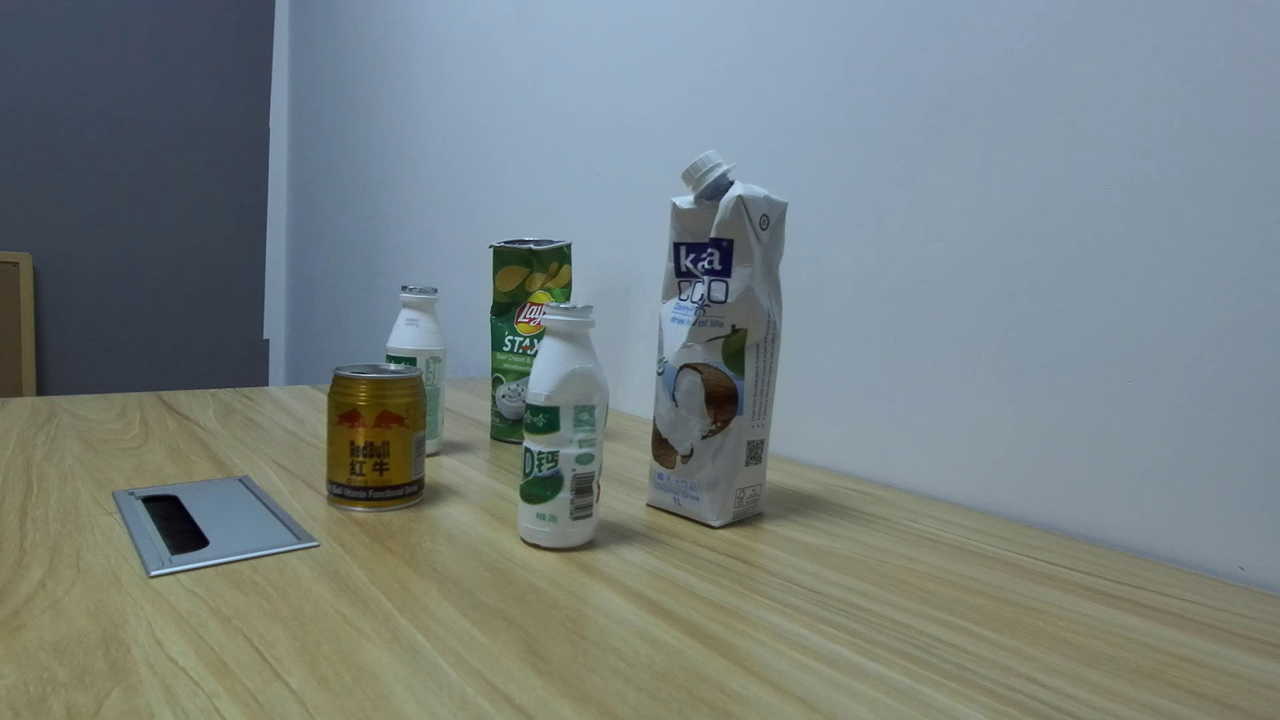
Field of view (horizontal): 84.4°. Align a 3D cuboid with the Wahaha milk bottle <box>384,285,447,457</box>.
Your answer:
[{"bbox_3d":[-0.200,0.009,0.628,0.053,0.147,0.053,2,3,0],"label":"Wahaha milk bottle"}]

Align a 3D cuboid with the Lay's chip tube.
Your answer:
[{"bbox_3d":[-0.112,-0.020,0.708,0.077,0.201,0.069,0,8,-13],"label":"Lay's chip tube"}]

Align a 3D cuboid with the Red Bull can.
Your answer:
[{"bbox_3d":[-0.184,0.053,0.496,0.067,0.093,0.067,3,6,0],"label":"Red Bull can"}]

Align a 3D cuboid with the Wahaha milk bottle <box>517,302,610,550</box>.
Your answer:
[{"bbox_3d":[-0.049,0.039,0.441,0.055,0.149,0.055,3,7,0],"label":"Wahaha milk bottle"}]
